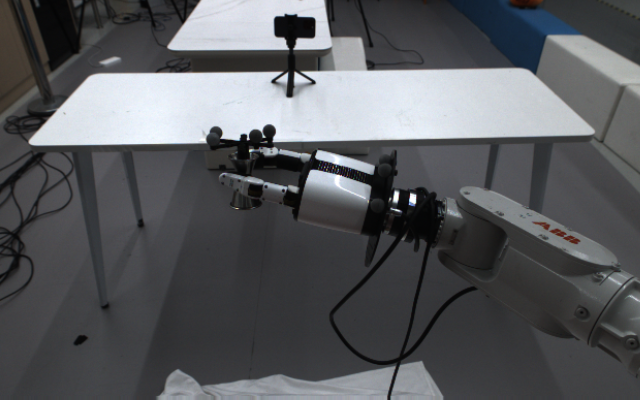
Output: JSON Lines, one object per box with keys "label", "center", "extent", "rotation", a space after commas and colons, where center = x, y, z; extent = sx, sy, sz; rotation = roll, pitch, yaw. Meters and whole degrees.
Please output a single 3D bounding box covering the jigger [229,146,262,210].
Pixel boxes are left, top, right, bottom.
{"label": "jigger", "center": [-0.100, -0.025, 0.643], "extent": [0.043, 0.071, 0.043], "rotation": [0, 21, 0]}
